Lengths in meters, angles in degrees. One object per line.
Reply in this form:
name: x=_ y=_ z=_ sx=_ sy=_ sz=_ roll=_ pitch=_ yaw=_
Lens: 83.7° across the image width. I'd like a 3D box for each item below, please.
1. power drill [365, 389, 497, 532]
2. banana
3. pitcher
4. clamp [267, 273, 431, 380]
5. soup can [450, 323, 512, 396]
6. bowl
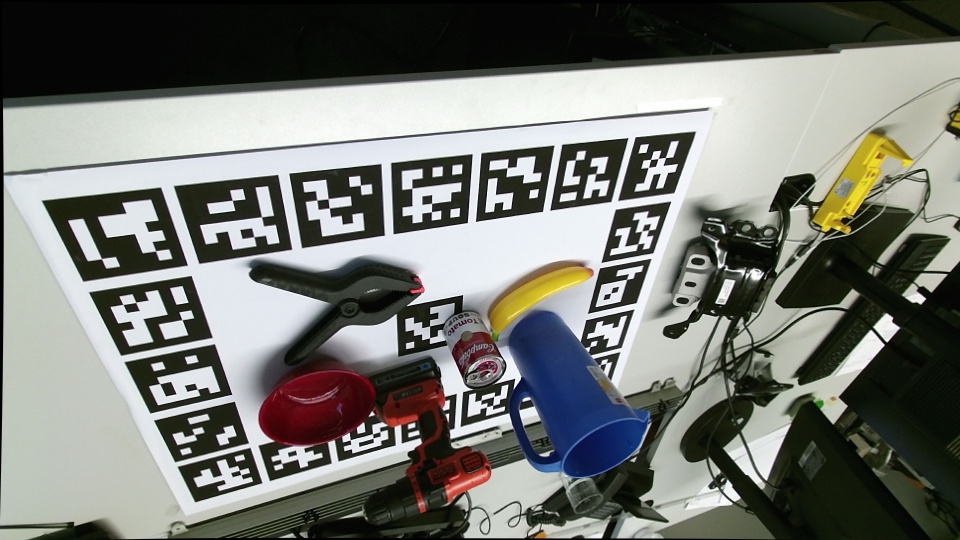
power drill: x=-0.090 y=0.272 z=0.783 sx=0.185 sy=0.186 sz=0.057 roll=-14 pitch=129 yaw=-16
banana: x=0.108 y=0.059 z=0.848 sx=0.198 sy=0.038 sz=0.074 roll=-29 pitch=141 yaw=-2
pitcher: x=0.137 y=0.208 z=0.837 sx=0.189 sy=0.241 sz=0.133 roll=-29 pitch=135 yaw=-4
clamp: x=-0.155 y=0.058 z=0.703 sx=0.203 sy=0.036 sz=0.165 roll=-12 pitch=125 yaw=-18
soup can: x=0.002 y=0.139 z=0.812 sx=0.068 sy=0.101 sz=0.068 roll=-16 pitch=138 yaw=-15
bowl: x=-0.220 y=0.197 z=0.774 sx=0.162 sy=0.055 sz=0.161 roll=-14 pitch=128 yaw=-18
